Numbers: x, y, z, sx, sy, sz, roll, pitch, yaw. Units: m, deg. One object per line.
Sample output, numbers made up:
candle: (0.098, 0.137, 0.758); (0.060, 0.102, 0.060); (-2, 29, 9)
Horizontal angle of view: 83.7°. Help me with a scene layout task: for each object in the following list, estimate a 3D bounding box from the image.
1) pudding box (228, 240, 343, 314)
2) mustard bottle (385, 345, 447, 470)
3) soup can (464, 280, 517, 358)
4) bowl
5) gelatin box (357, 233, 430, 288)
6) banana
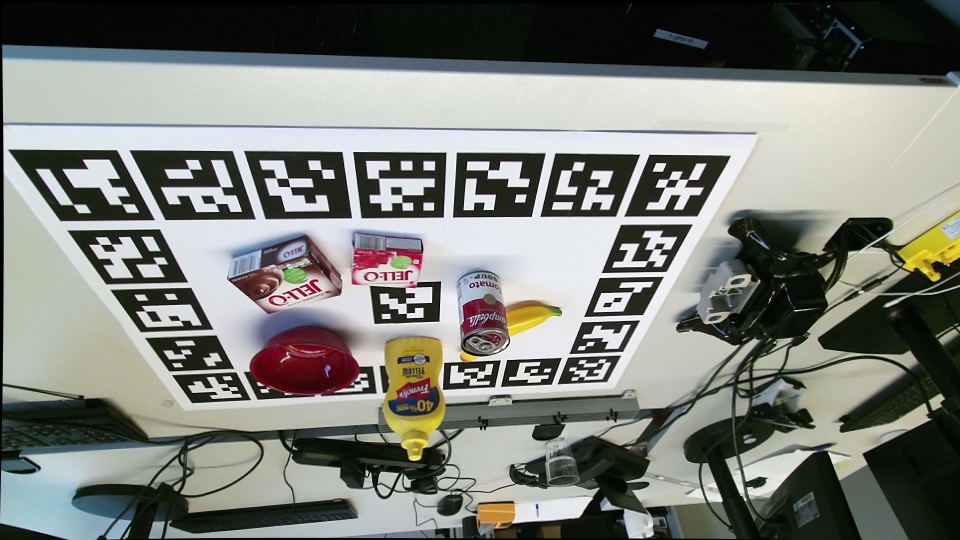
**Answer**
pudding box: (-0.253, 0.015, 0.708); (0.114, 0.038, 0.090); (-17, 134, 11)
mustard bottle: (-0.100, 0.211, 0.830); (0.096, 0.190, 0.058); (-1, 142, -8)
soup can: (0.014, 0.074, 0.758); (0.068, 0.101, 0.068); (-3, 141, -2)
bowl: (-0.276, 0.142, 0.846); (0.162, 0.055, 0.162); (-6, 141, -5)
gelatin box: (-0.116, -0.010, 0.708); (0.090, 0.030, 0.073); (3, 136, -13)
banana: (0.041, 0.115, 0.874); (0.197, 0.038, 0.074); (-34, 143, 28)
